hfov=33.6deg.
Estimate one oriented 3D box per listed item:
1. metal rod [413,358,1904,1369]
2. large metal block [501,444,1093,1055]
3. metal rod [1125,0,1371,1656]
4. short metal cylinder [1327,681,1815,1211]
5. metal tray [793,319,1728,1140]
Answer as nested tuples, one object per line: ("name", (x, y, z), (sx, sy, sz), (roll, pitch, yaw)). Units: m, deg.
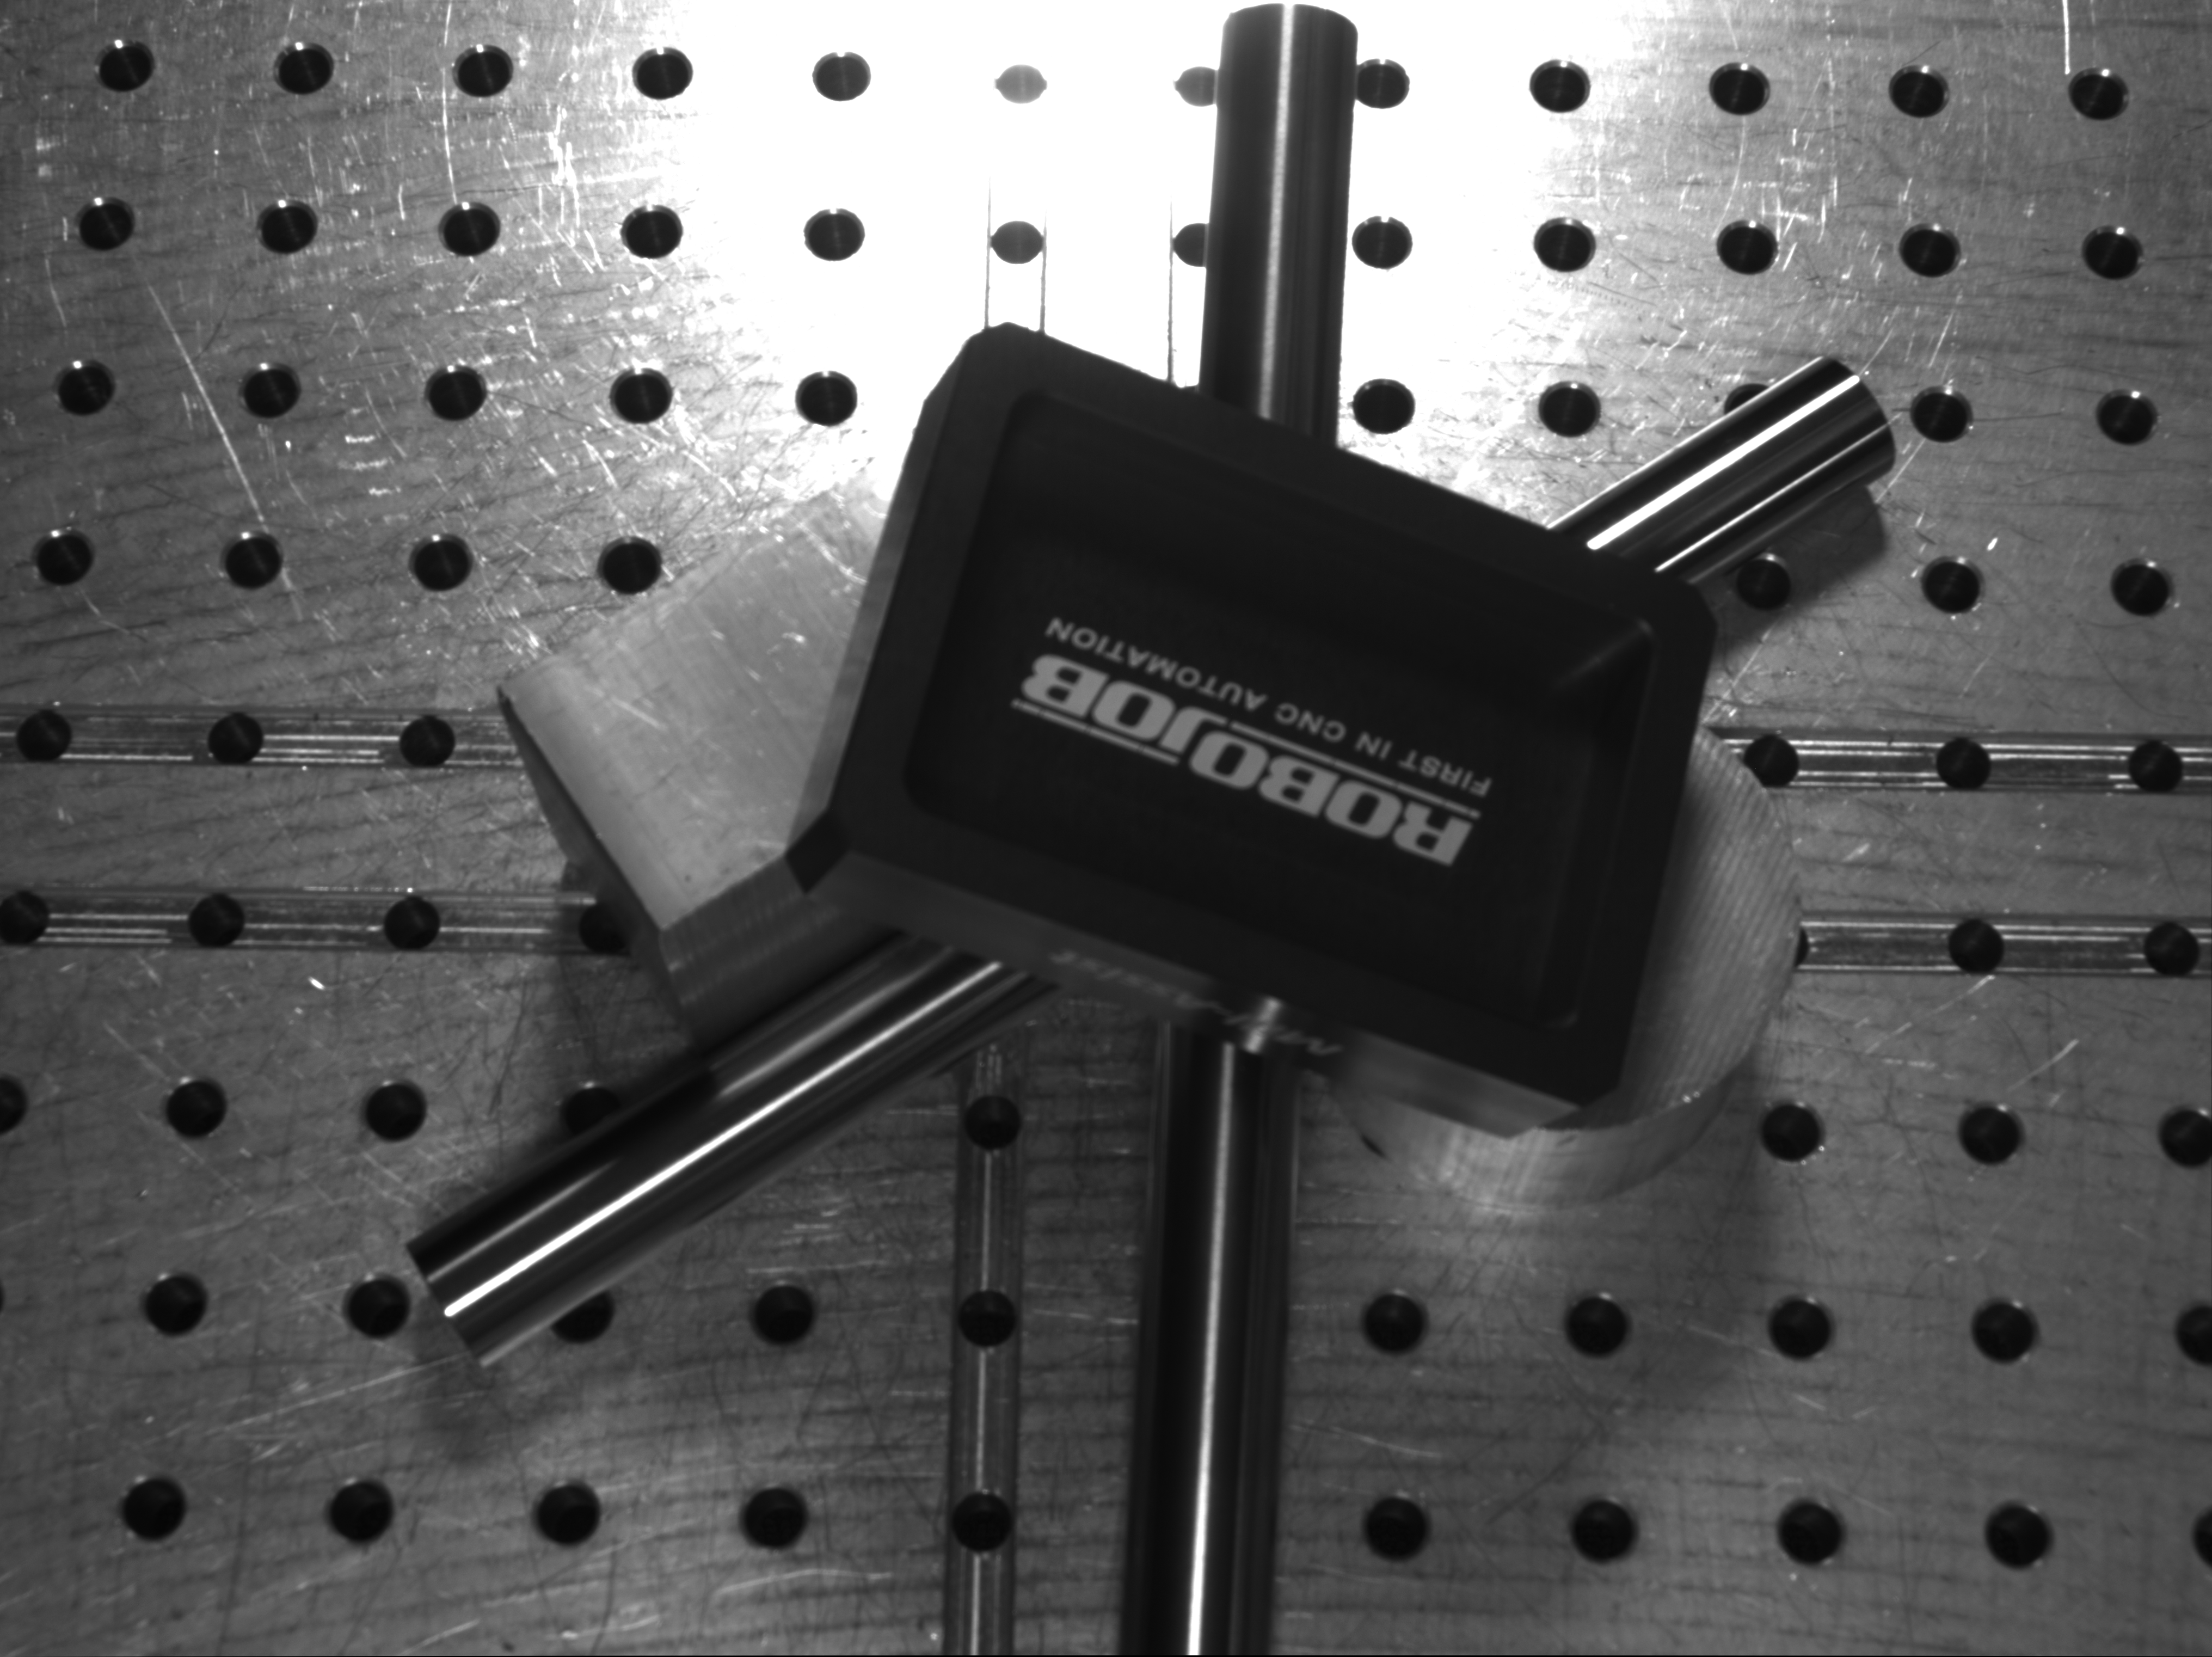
("metal rod", (0.015, 0.002, 0.647), (0.300, 0.025, 0.025), (-32, 73, -11))
("large metal block", (-0.049, -0.010, 0.621), (0.080, 0.080, 0.050), (-32, 73, -11))
("metal rod", (0.024, 0.005, 0.621), (0.025, 0.025, 0.300), (4, 79, 1))
("short metal cylinder", (0.077, 0.020, 0.625), (0.080, 0.050, 0.080), (0, 70, 0))
("metal tray", (0.026, -0.014, 0.575), (0.130, 0.030, 0.090), (20, 70, -12))
